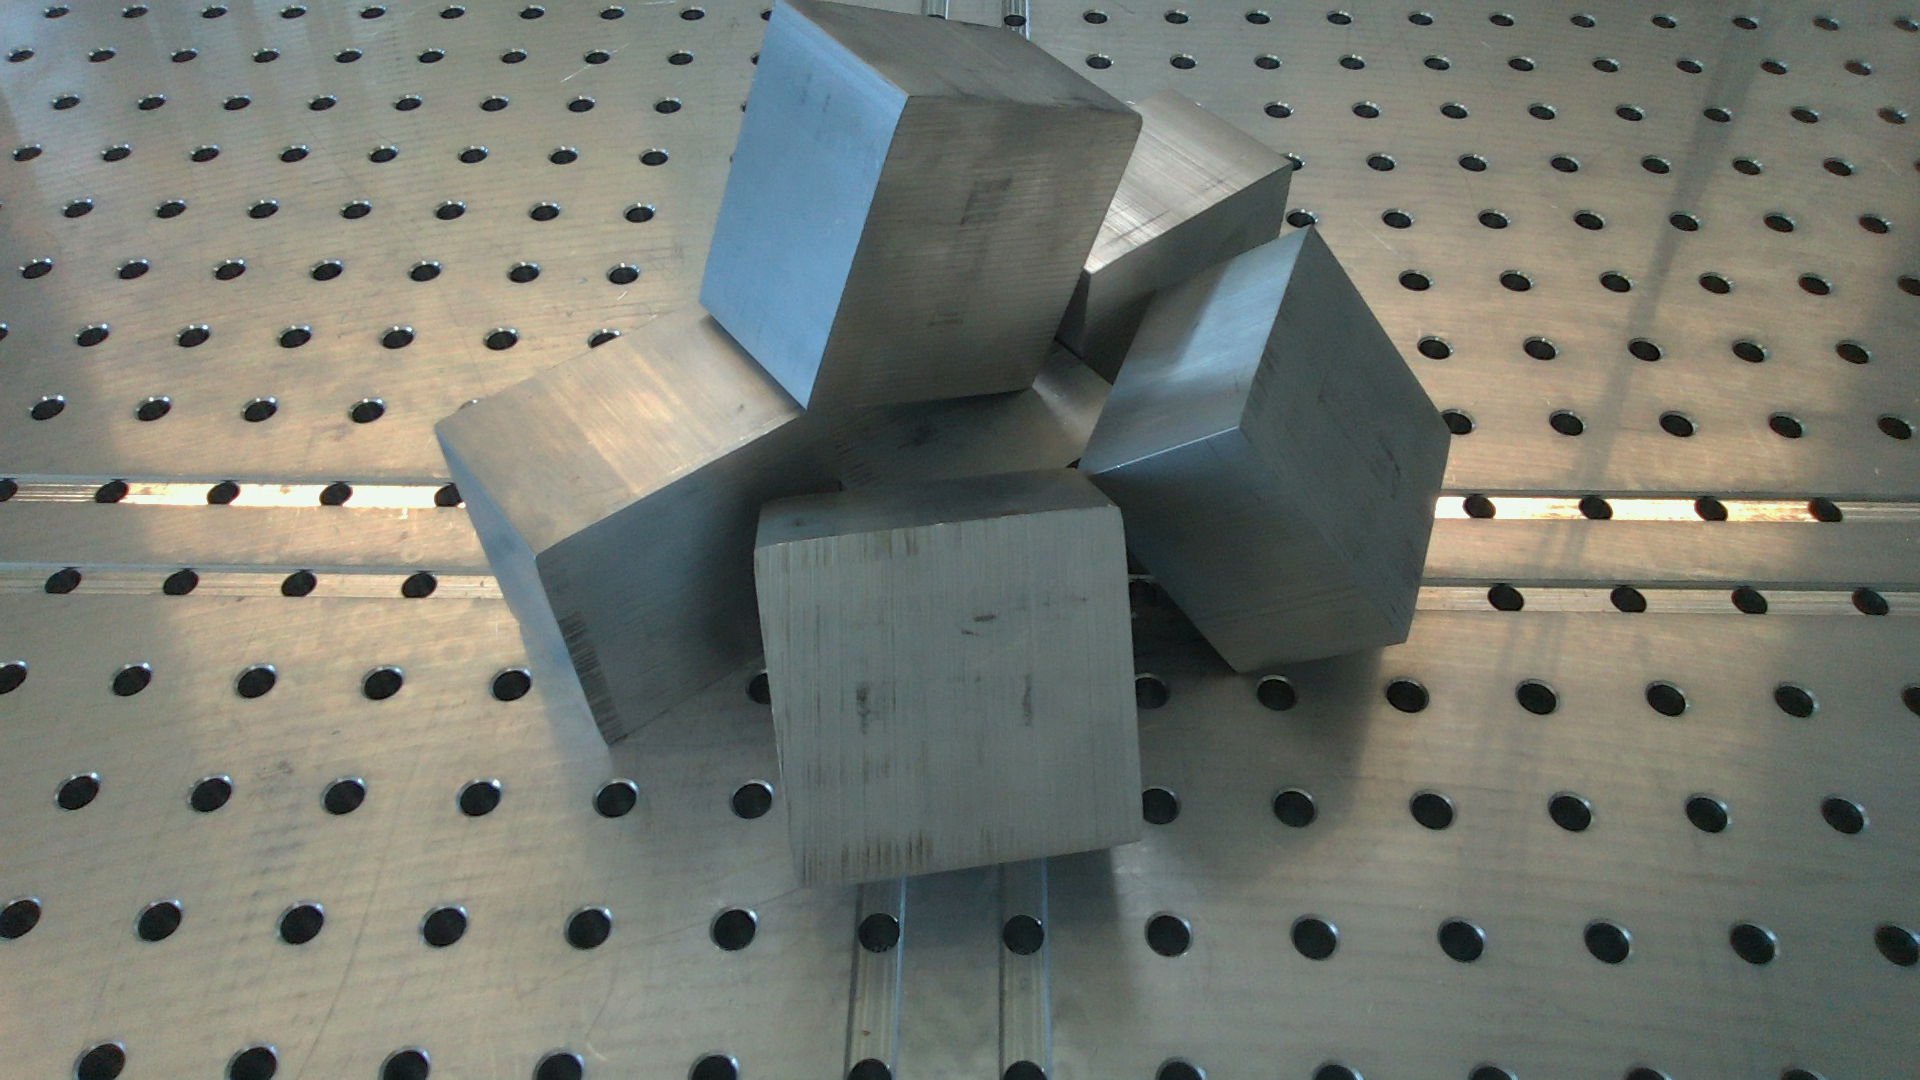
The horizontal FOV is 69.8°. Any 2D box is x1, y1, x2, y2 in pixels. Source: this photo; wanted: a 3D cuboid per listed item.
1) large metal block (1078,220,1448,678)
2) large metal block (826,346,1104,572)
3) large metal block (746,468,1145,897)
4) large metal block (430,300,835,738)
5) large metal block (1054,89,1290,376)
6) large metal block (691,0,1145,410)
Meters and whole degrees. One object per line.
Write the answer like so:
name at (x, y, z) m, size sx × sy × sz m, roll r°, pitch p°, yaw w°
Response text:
large metal block at (0.083, -0.023, 0.369) m, size 0.050 × 0.080 × 0.080 m, roll -18°, pitch 35°, yaw 42°
large metal block at (-0.005, -0.021, 0.398) m, size 0.080 × 0.050 × 0.080 m, roll -32°, pitch 57°, yaw -24°
large metal block at (-0.004, 0.030, 0.324) m, size 0.080 × 0.080 × 0.050 m, roll -7°, pitch 14°, yaw -6°
large metal block at (-0.080, -0.007, 0.363) m, size 0.080 × 0.080 × 0.050 m, roll -31°, pitch 57°, yaw -24°
large metal block at (0.049, -0.079, 0.425) m, size 0.080 × 0.080 × 0.050 m, roll -32°, pitch 57°, yaw -24°
large metal block at (-0.012, -0.083, 0.346) m, size 0.080 × 0.080 × 0.050 m, roll -11°, pitch 45°, yaw -43°
